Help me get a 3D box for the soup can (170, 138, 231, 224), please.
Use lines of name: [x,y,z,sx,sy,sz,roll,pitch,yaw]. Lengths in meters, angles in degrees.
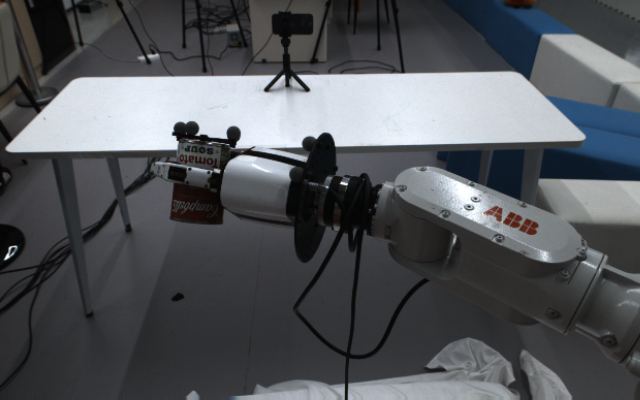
soup can: [-0.152,-0.022,0.619,0.067,0.101,0.067,7,3,0]
